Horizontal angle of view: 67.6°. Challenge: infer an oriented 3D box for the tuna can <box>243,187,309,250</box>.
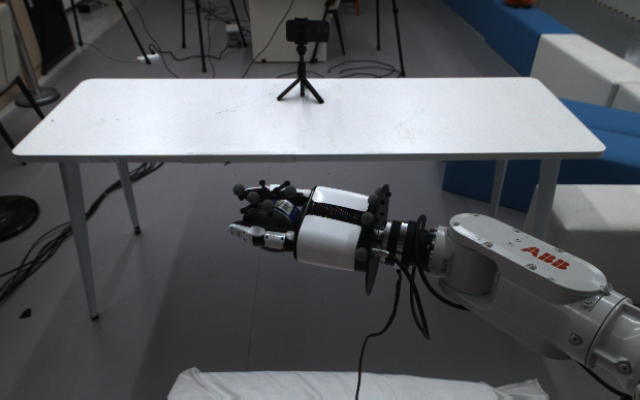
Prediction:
[{"bbox_3d":[-0.066,0.034,0.711,0.085,0.085,0.034,11,39,12],"label":"tuna can"}]
